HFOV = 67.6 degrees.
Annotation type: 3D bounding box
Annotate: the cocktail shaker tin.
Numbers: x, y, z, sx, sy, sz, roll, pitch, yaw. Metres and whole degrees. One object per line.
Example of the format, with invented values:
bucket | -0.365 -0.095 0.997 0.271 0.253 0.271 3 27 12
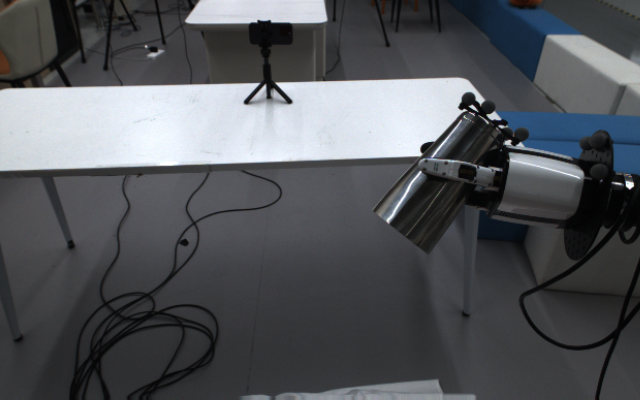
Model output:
cocktail shaker tin | 0.156 -0.030 0.617 0.170 0.093 0.093 -50 46 4
